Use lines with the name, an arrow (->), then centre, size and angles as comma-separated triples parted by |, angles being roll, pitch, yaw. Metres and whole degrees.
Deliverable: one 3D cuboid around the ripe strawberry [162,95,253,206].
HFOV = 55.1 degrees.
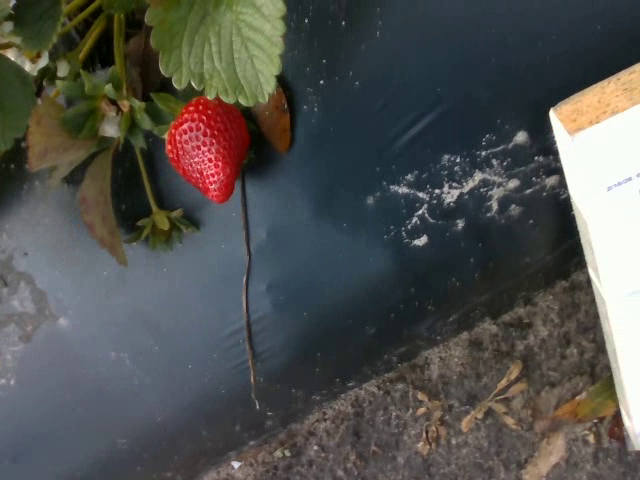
ripe strawberry -> -0.054, -0.039, 0.300 | 0.050, 0.053, 0.049 | -31, -31, 16
